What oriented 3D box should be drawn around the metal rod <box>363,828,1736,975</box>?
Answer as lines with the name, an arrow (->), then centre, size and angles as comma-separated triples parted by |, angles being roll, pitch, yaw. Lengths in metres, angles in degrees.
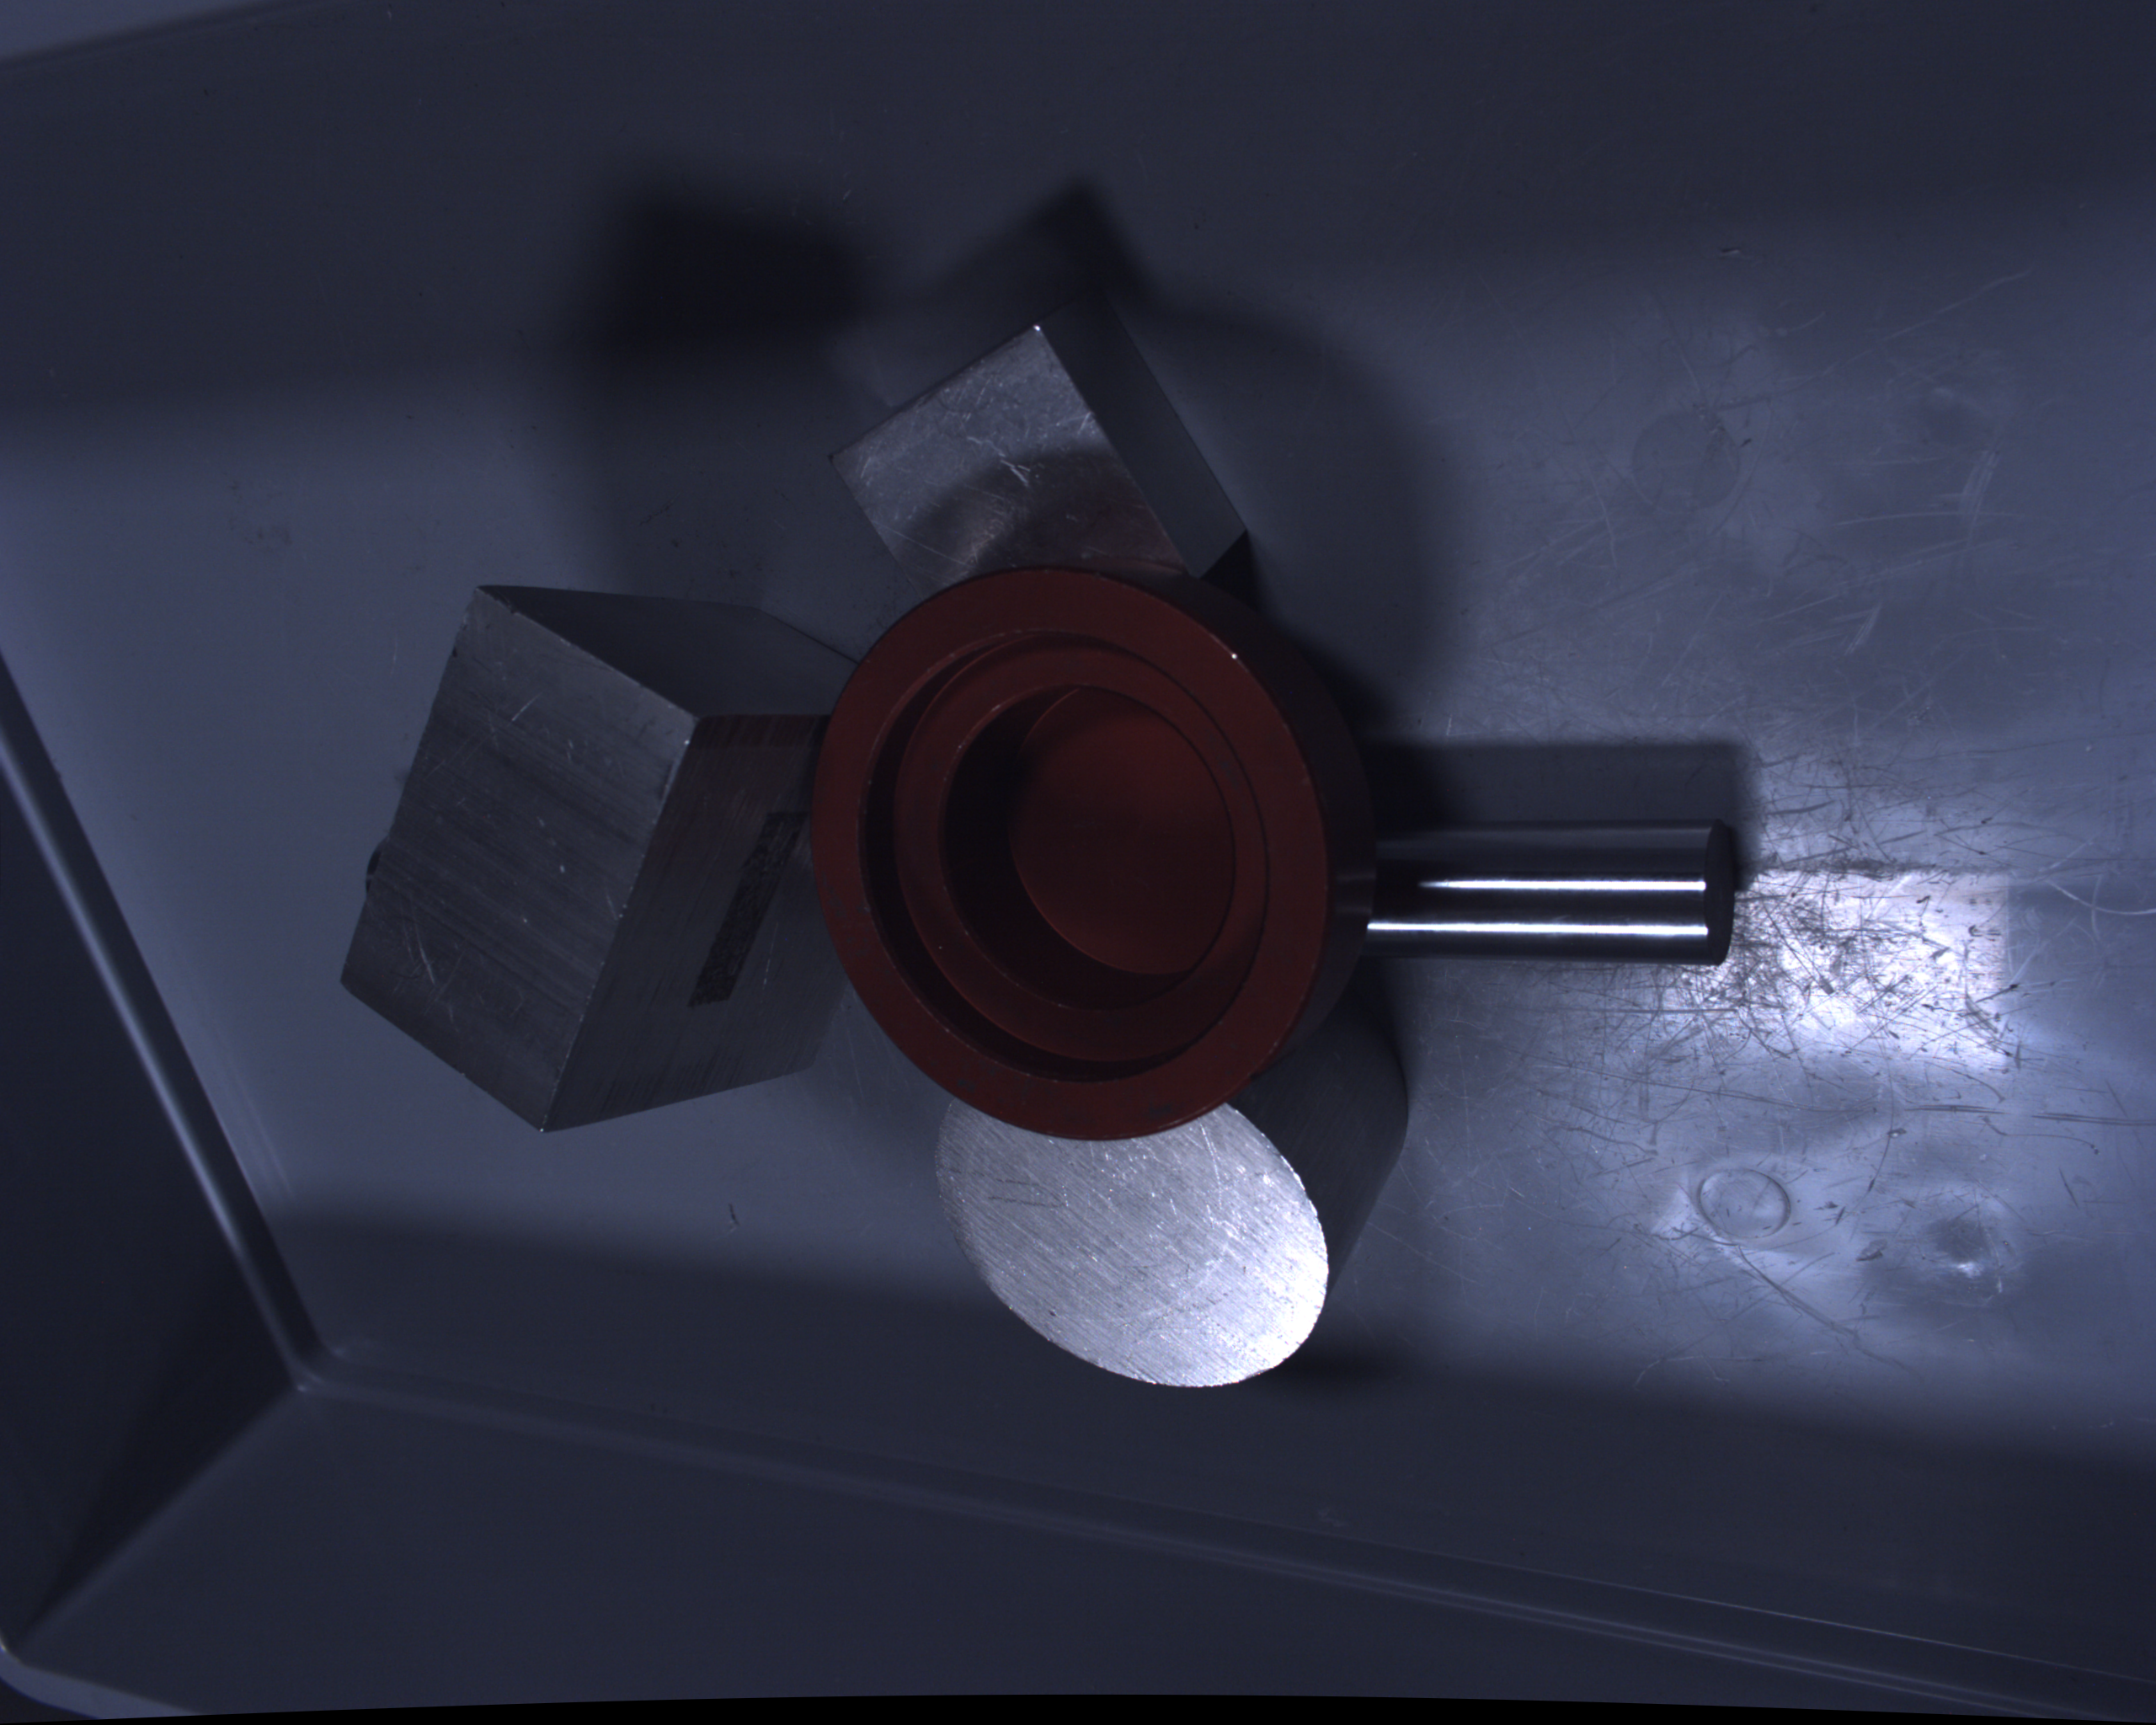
metal rod -> -0.025, 0.006, 0.420 | 0.300, 0.025, 0.025 | 0, 119, 27

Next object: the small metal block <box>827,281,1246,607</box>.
small metal block -> -0.007, -0.066, 0.369 | 0.050, 0.025, 0.050 | -23, 107, 36

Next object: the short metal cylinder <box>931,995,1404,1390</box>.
short metal cylinder -> 0.018, 0.057, 0.413 | 0.080, 0.050, 0.079 | 13, 124, 20

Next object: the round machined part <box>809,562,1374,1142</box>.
round machined part -> 0.005, -0.004, 0.364 | 0.098, 0.042, 0.097 | 6, 104, 27

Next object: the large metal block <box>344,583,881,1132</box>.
large metal block -> -0.078, -0.003, 0.390 | 0.050, 0.080, 0.079 | 30, 106, 23
